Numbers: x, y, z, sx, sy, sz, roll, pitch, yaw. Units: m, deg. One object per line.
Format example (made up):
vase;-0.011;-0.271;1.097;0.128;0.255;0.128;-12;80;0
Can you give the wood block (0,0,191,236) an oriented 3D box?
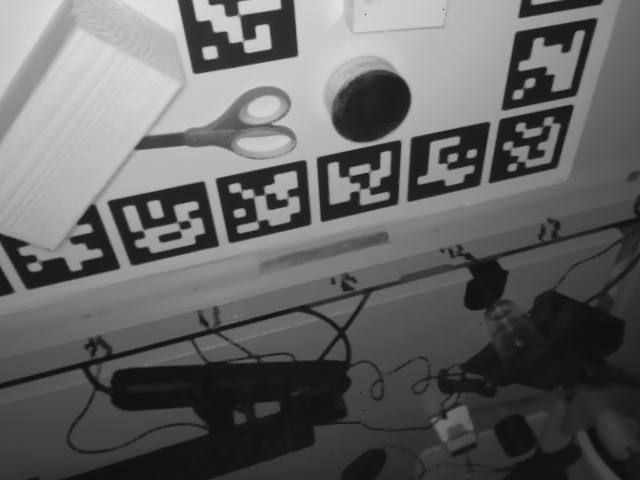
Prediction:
wood block;-0.214;-0.114;0.597;0.091;0.091;0.204;27;117;-39

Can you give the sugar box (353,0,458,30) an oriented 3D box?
sugar box;0.083;-0.274;0.603;0.094;0.045;0.174;-9;133;-14

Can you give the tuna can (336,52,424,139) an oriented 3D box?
tuna can;0.061;-0.148;0.713;0.086;0.034;0.085;-12;134;-12

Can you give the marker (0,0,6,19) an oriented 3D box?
marker;-0.261;-0.223;0.518;0.020;0.019;0.120;-11;132;-12

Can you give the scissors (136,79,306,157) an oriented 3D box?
scissors;-0.109;-0.114;0.689;0.205;0.016;0.086;-8;133;-19
